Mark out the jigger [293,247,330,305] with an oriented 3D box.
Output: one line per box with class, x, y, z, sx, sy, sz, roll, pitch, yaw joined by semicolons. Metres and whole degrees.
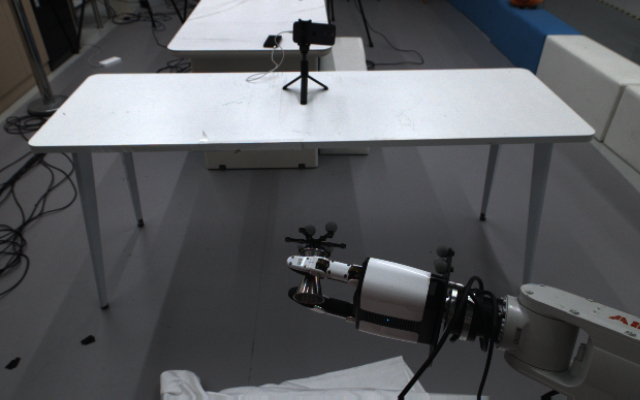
jigger;-0.014;0.105;0.678;0.043;0.043;0.071;5;60;5
